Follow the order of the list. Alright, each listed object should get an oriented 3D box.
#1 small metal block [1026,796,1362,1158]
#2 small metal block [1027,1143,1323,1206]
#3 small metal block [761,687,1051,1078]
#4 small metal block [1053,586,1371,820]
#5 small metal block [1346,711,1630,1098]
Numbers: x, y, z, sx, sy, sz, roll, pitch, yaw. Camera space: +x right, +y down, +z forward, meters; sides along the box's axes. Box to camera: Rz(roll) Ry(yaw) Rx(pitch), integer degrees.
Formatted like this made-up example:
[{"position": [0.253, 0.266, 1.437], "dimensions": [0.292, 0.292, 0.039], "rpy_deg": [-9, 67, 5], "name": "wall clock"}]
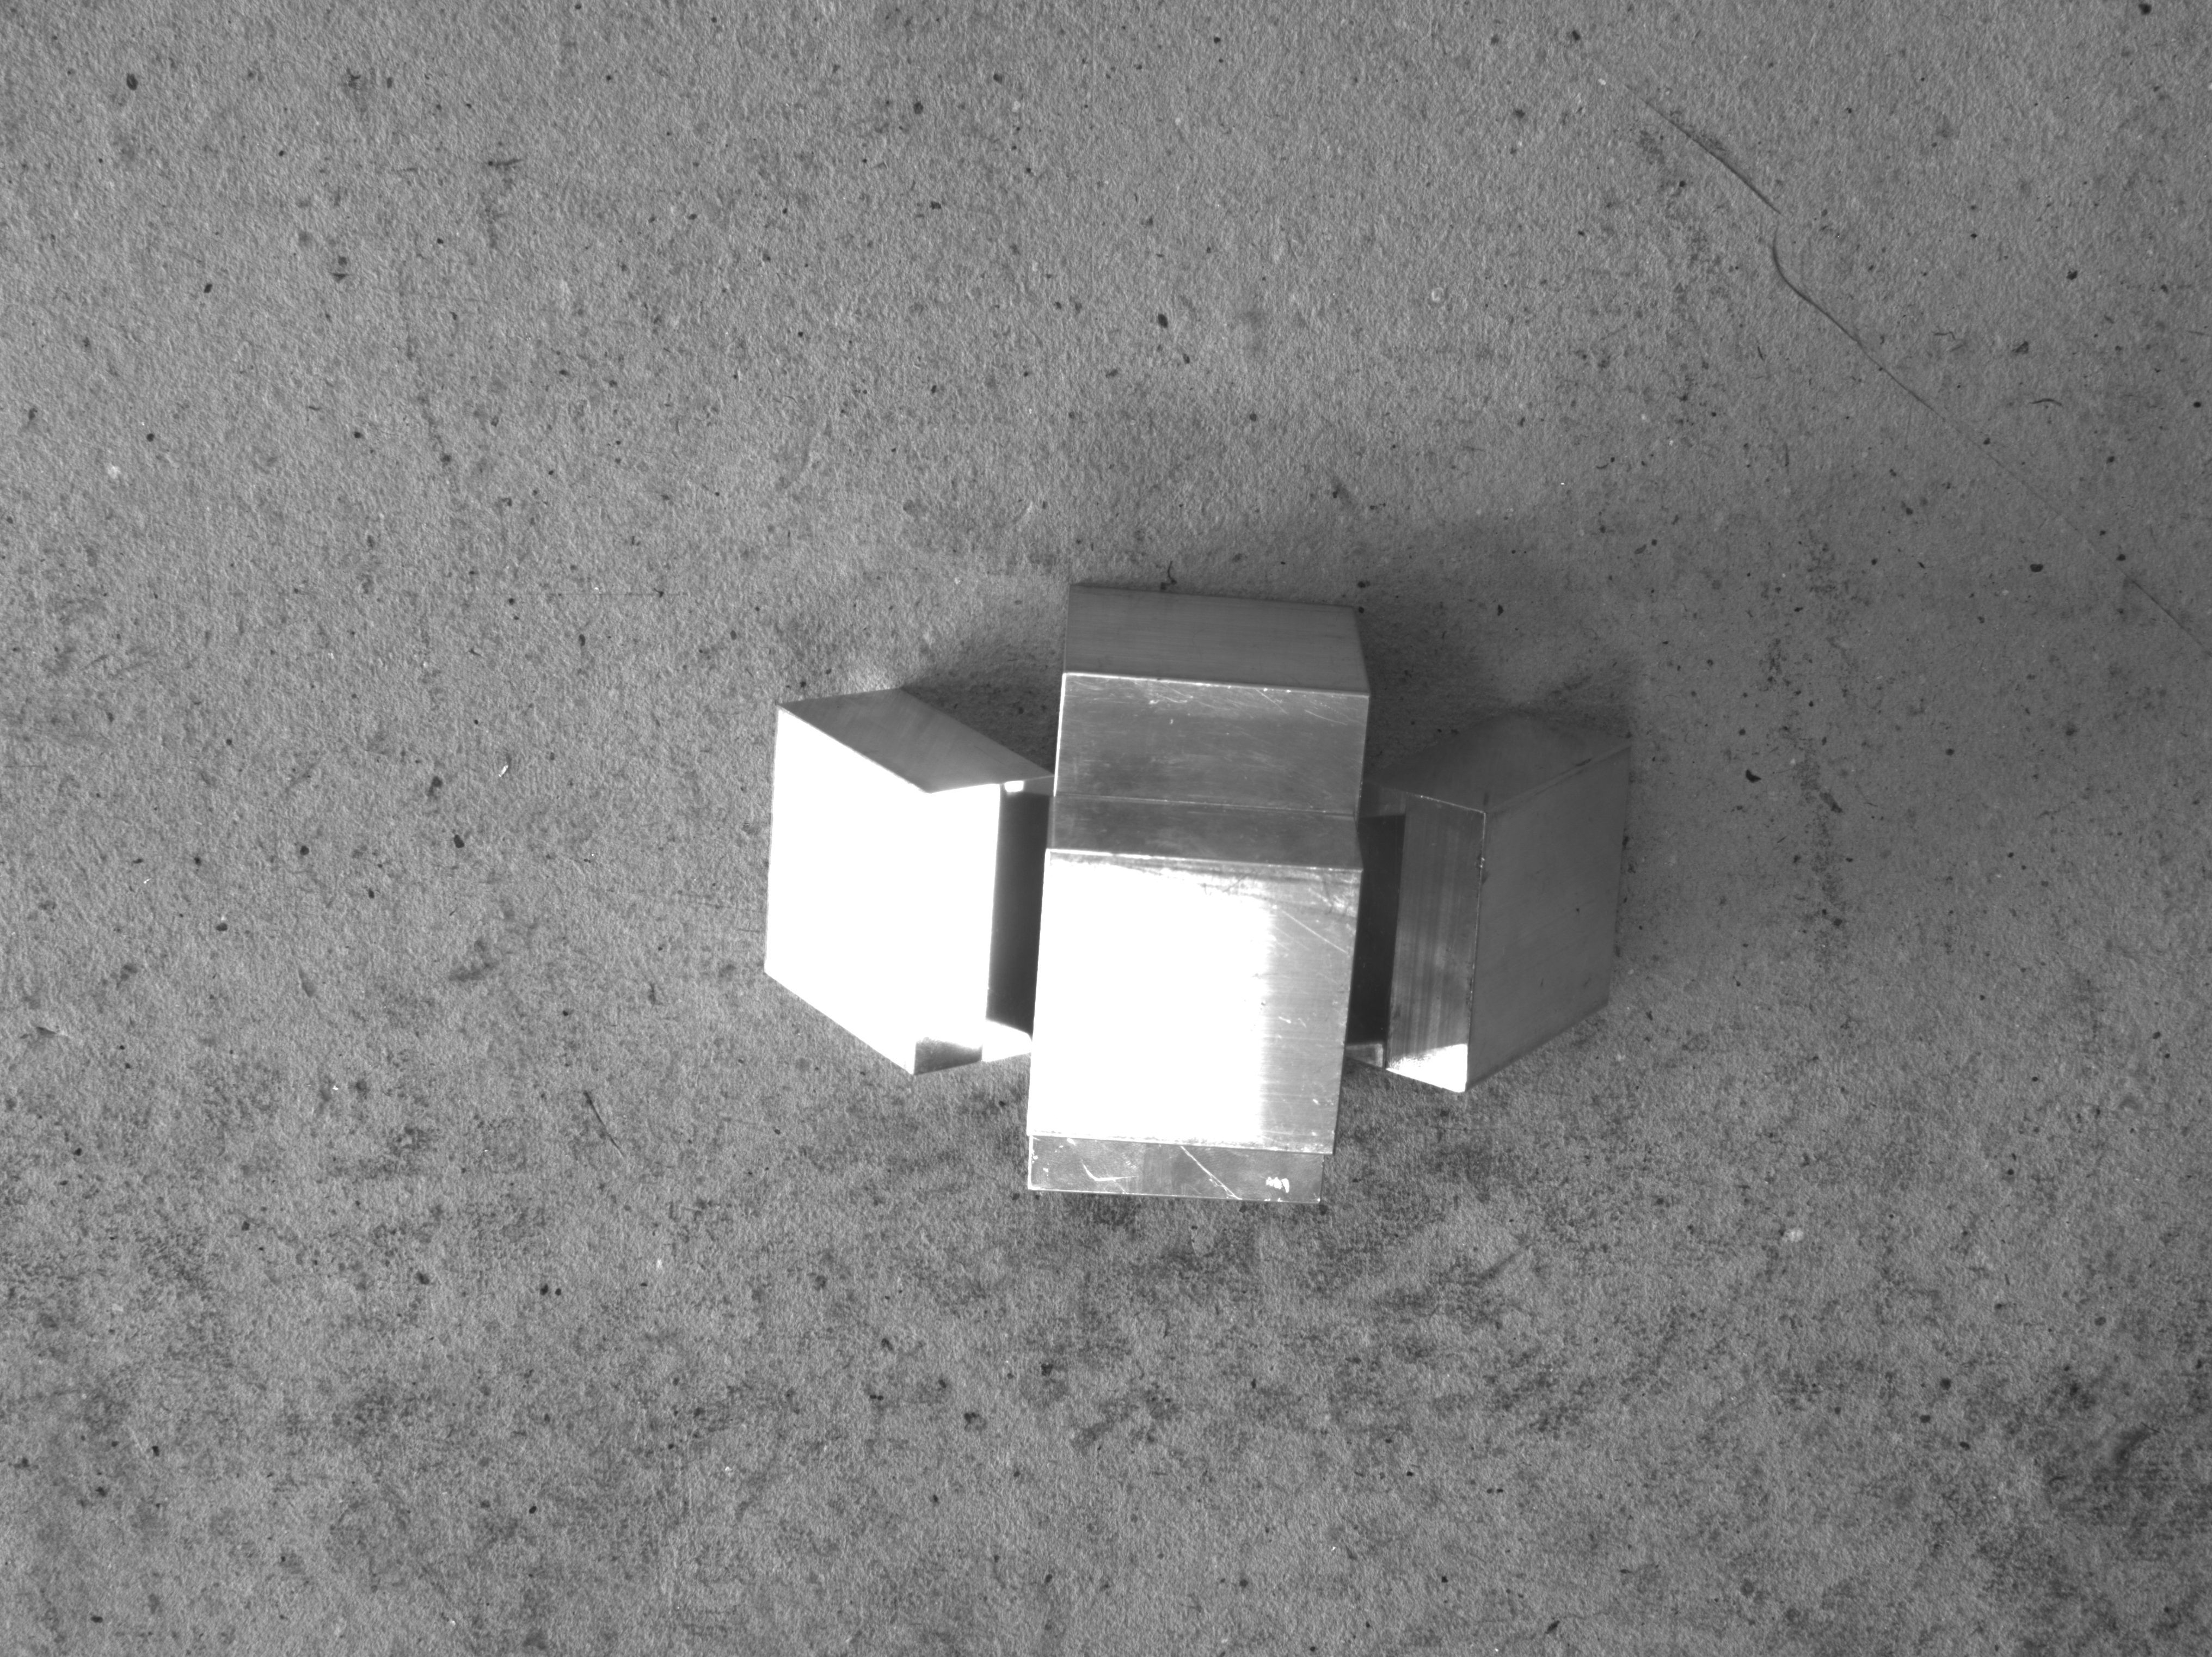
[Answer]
[{"position": [0.014, 0.024, 0.600], "dimensions": [0.050, 0.025, 0.050], "rpy_deg": [4, 110, -1], "name": "small metal block"}, {"position": [0.012, 0.043, 0.647], "dimensions": [0.050, 0.050, 0.025], "rpy_deg": [3, 110, -1], "name": "small metal block"}, {"position": [-0.035, 0.008, 0.632], "dimensions": [0.025, 0.050, 0.050], "rpy_deg": [-10, 115, -34], "name": "small metal block"}, {"position": [0.017, -0.020, 0.624], "dimensions": [0.050, 0.050, 0.025], "rpy_deg": [4, 110, -1], "name": "small metal block"}, {"position": [0.065, 0.012, 0.633], "dimensions": [0.025, 0.050, 0.050], "rpy_deg": [16, 114, 32], "name": "small metal block"}]
